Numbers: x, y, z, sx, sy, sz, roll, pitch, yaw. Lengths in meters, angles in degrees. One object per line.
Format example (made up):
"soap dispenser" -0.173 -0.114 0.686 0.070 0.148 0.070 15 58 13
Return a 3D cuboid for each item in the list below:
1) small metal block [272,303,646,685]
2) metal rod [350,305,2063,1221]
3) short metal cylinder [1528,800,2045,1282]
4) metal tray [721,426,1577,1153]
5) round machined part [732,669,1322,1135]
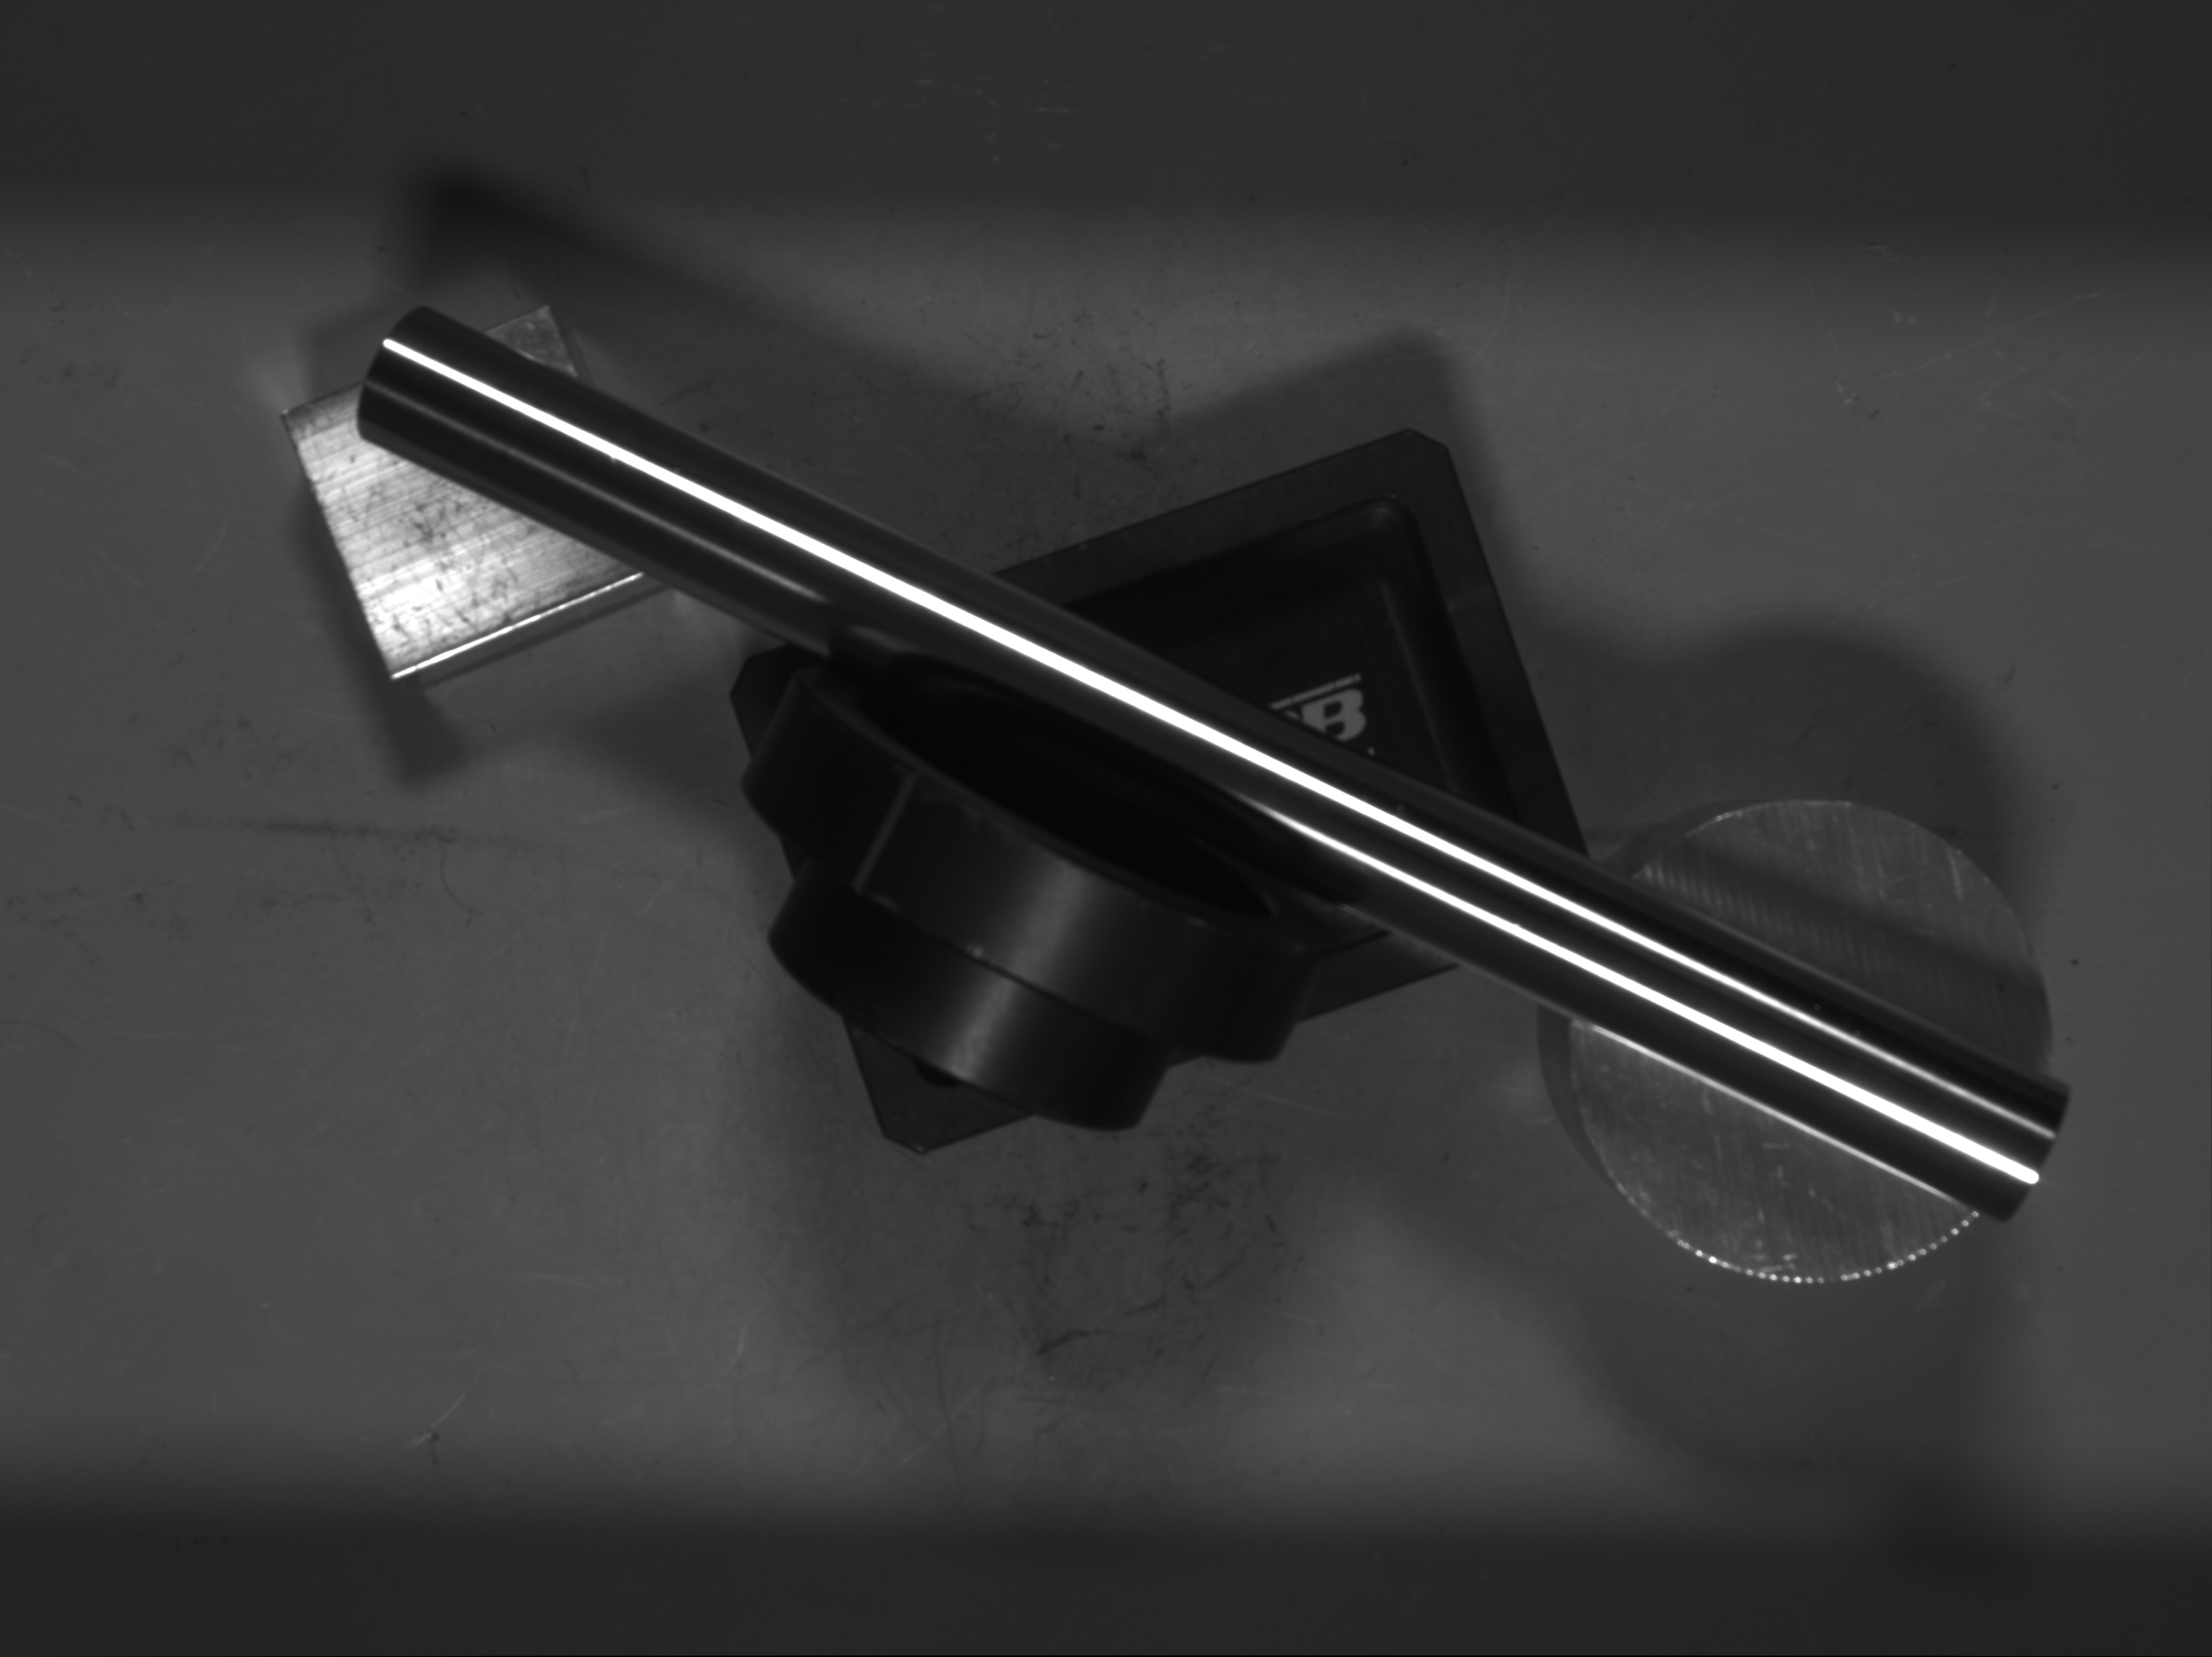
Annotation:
"small metal block" -0.111 -0.058 0.643 0.050 0.025 0.050 -22 90 0
"metal rod" 0.013 -0.013 0.603 0.300 0.025 0.025 26 90 6
"short metal cylinder" 0.116 0.035 0.633 0.080 0.050 0.080 0 90 0
"metal tray" 0.009 -0.007 0.641 0.130 0.030 0.090 -19 90 -1
"round machined part" -0.017 0.015 0.594 0.098 0.098 0.042 28 97 0
